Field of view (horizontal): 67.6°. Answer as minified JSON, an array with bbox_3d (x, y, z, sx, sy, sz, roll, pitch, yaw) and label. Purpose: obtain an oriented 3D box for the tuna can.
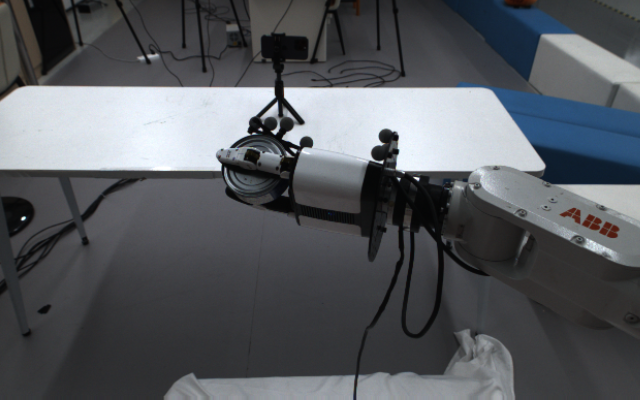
[{"bbox_3d":[-0.079,-0.041,0.618,0.085,0.034,0.085,-4,67,10],"label":"tuna can"}]
